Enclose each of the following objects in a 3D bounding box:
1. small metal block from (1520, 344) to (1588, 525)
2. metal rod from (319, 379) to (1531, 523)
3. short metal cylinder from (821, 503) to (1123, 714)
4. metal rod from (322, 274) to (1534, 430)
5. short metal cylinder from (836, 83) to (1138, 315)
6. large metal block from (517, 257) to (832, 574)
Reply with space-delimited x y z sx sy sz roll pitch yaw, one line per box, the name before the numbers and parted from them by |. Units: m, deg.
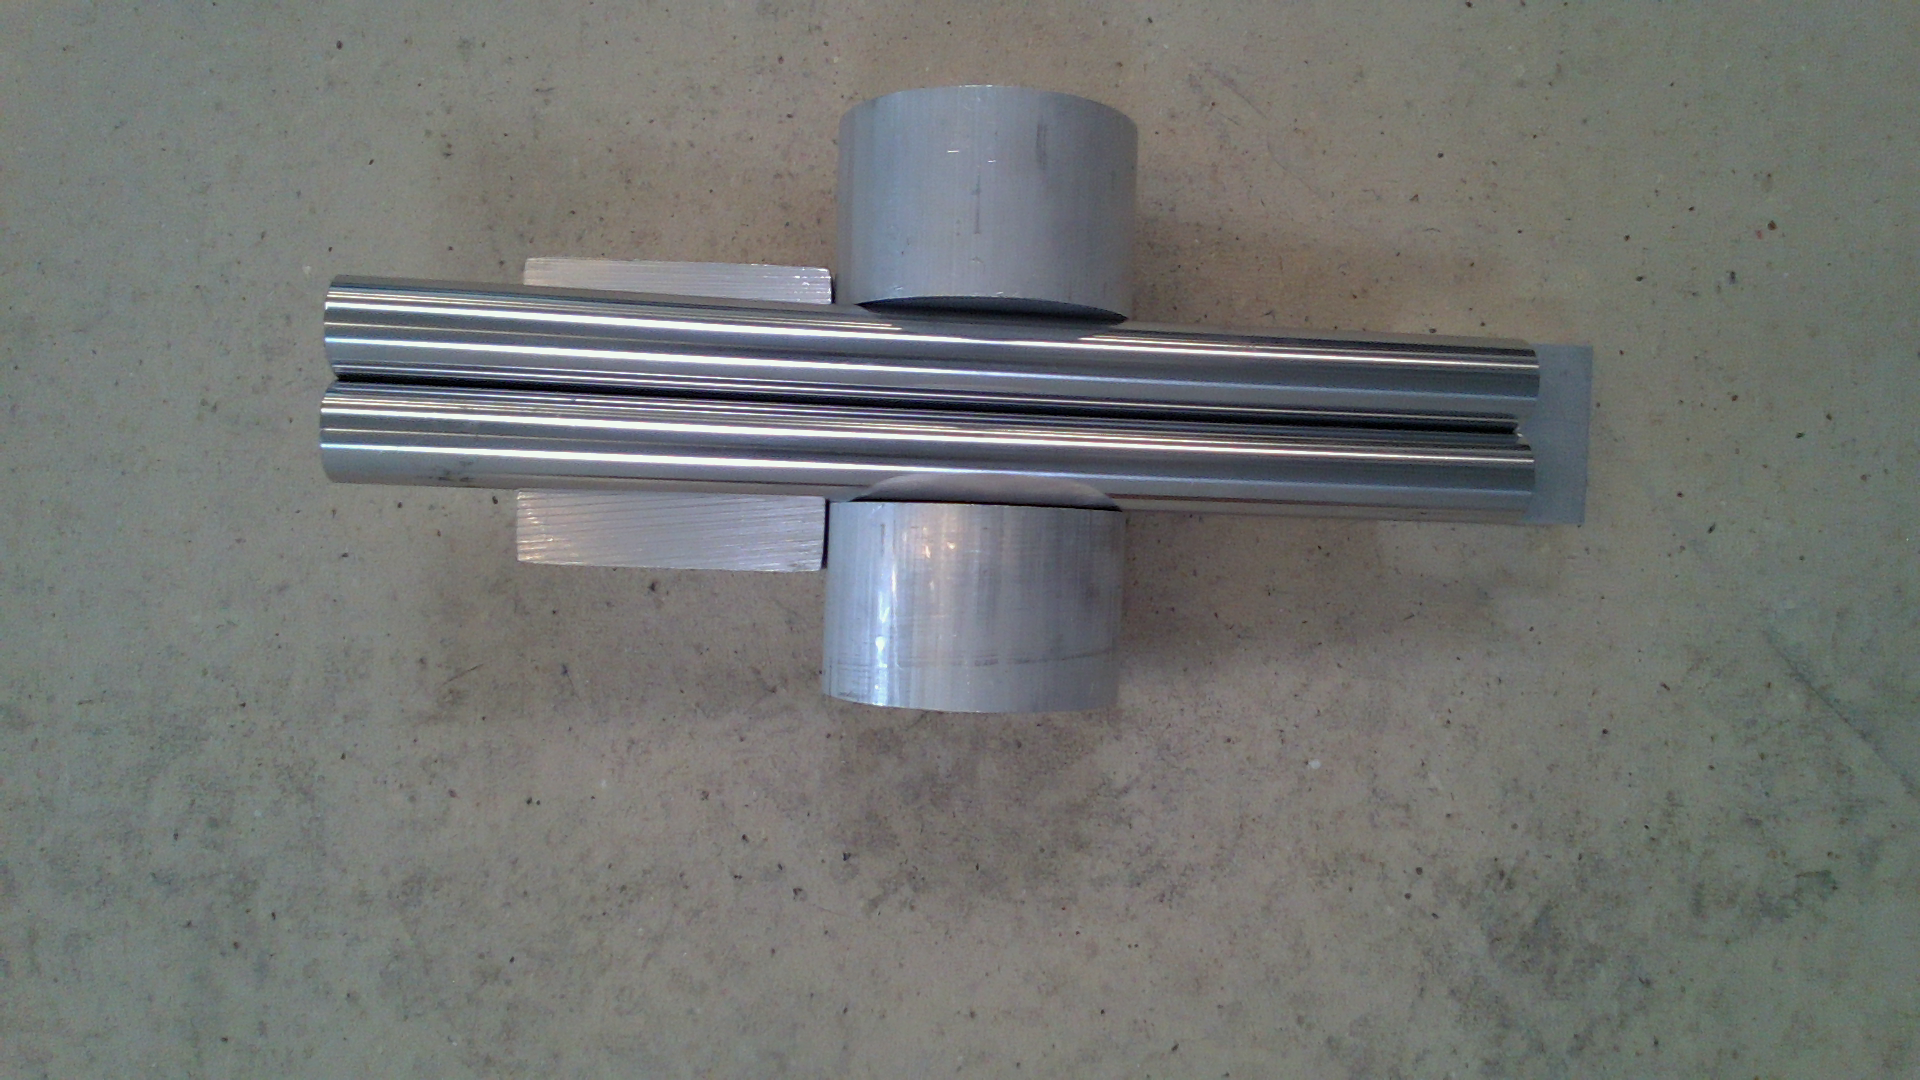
small metal block | 0.149 -0.030 0.396 0.050 0.025 0.050 3 90 0
metal rod | -0.001 -0.021 0.351 0.300 0.025 0.025 2 90 -8
short metal cylinder | 0.003 0.016 0.368 0.080 0.080 0.050 1 90 0
metal rod | 0.000 -0.047 0.351 0.300 0.025 0.025 2 90 -8
short metal cylinder | 0.007 -0.084 0.368 0.080 0.080 0.050 1 90 0
large metal block | -0.074 -0.032 0.383 0.080 0.050 0.080 2 90 0
